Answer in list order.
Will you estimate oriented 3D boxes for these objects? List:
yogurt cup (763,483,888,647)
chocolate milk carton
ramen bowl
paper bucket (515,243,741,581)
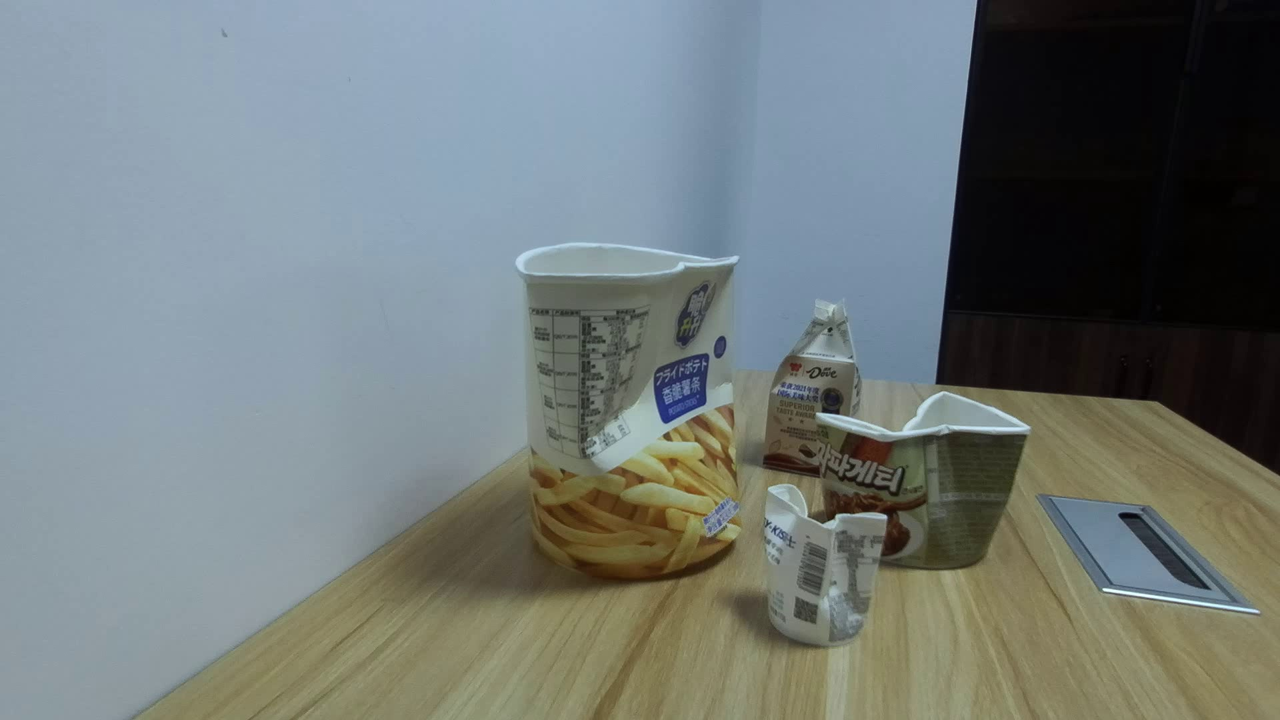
[{"bbox_3d":[0.096,0.110,0.383,0.055,0.072,0.054,-5,15,-17],"label":"yogurt cup"},{"bbox_3d":[0.160,0.020,0.629,0.073,0.155,0.076,8,11,24],"label":"chocolate milk carton"},{"bbox_3d":[0.183,0.079,0.493,0.128,0.093,0.111,-2,13,-12],"label":"ramen bowl"},{"bbox_3d":[0.002,0.024,0.481,0.147,0.199,0.217,2,12,-2],"label":"paper bucket"}]
